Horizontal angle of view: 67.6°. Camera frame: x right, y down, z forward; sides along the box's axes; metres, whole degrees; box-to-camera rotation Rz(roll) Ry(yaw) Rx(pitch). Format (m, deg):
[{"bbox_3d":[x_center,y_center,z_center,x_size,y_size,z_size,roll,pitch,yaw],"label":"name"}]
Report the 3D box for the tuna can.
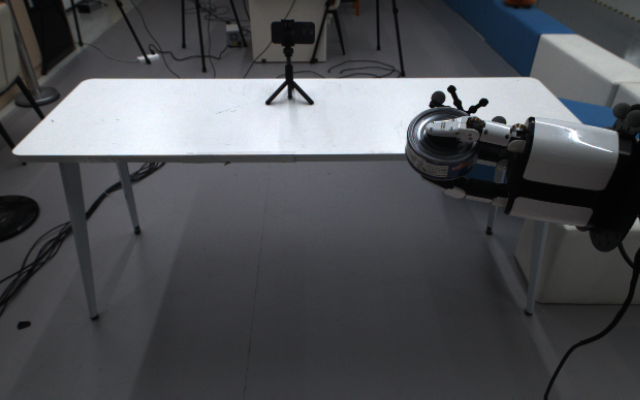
[{"bbox_3d":[0.146,-0.069,0.565,0.085,0.034,0.085,-4,58,6],"label":"tuna can"}]
